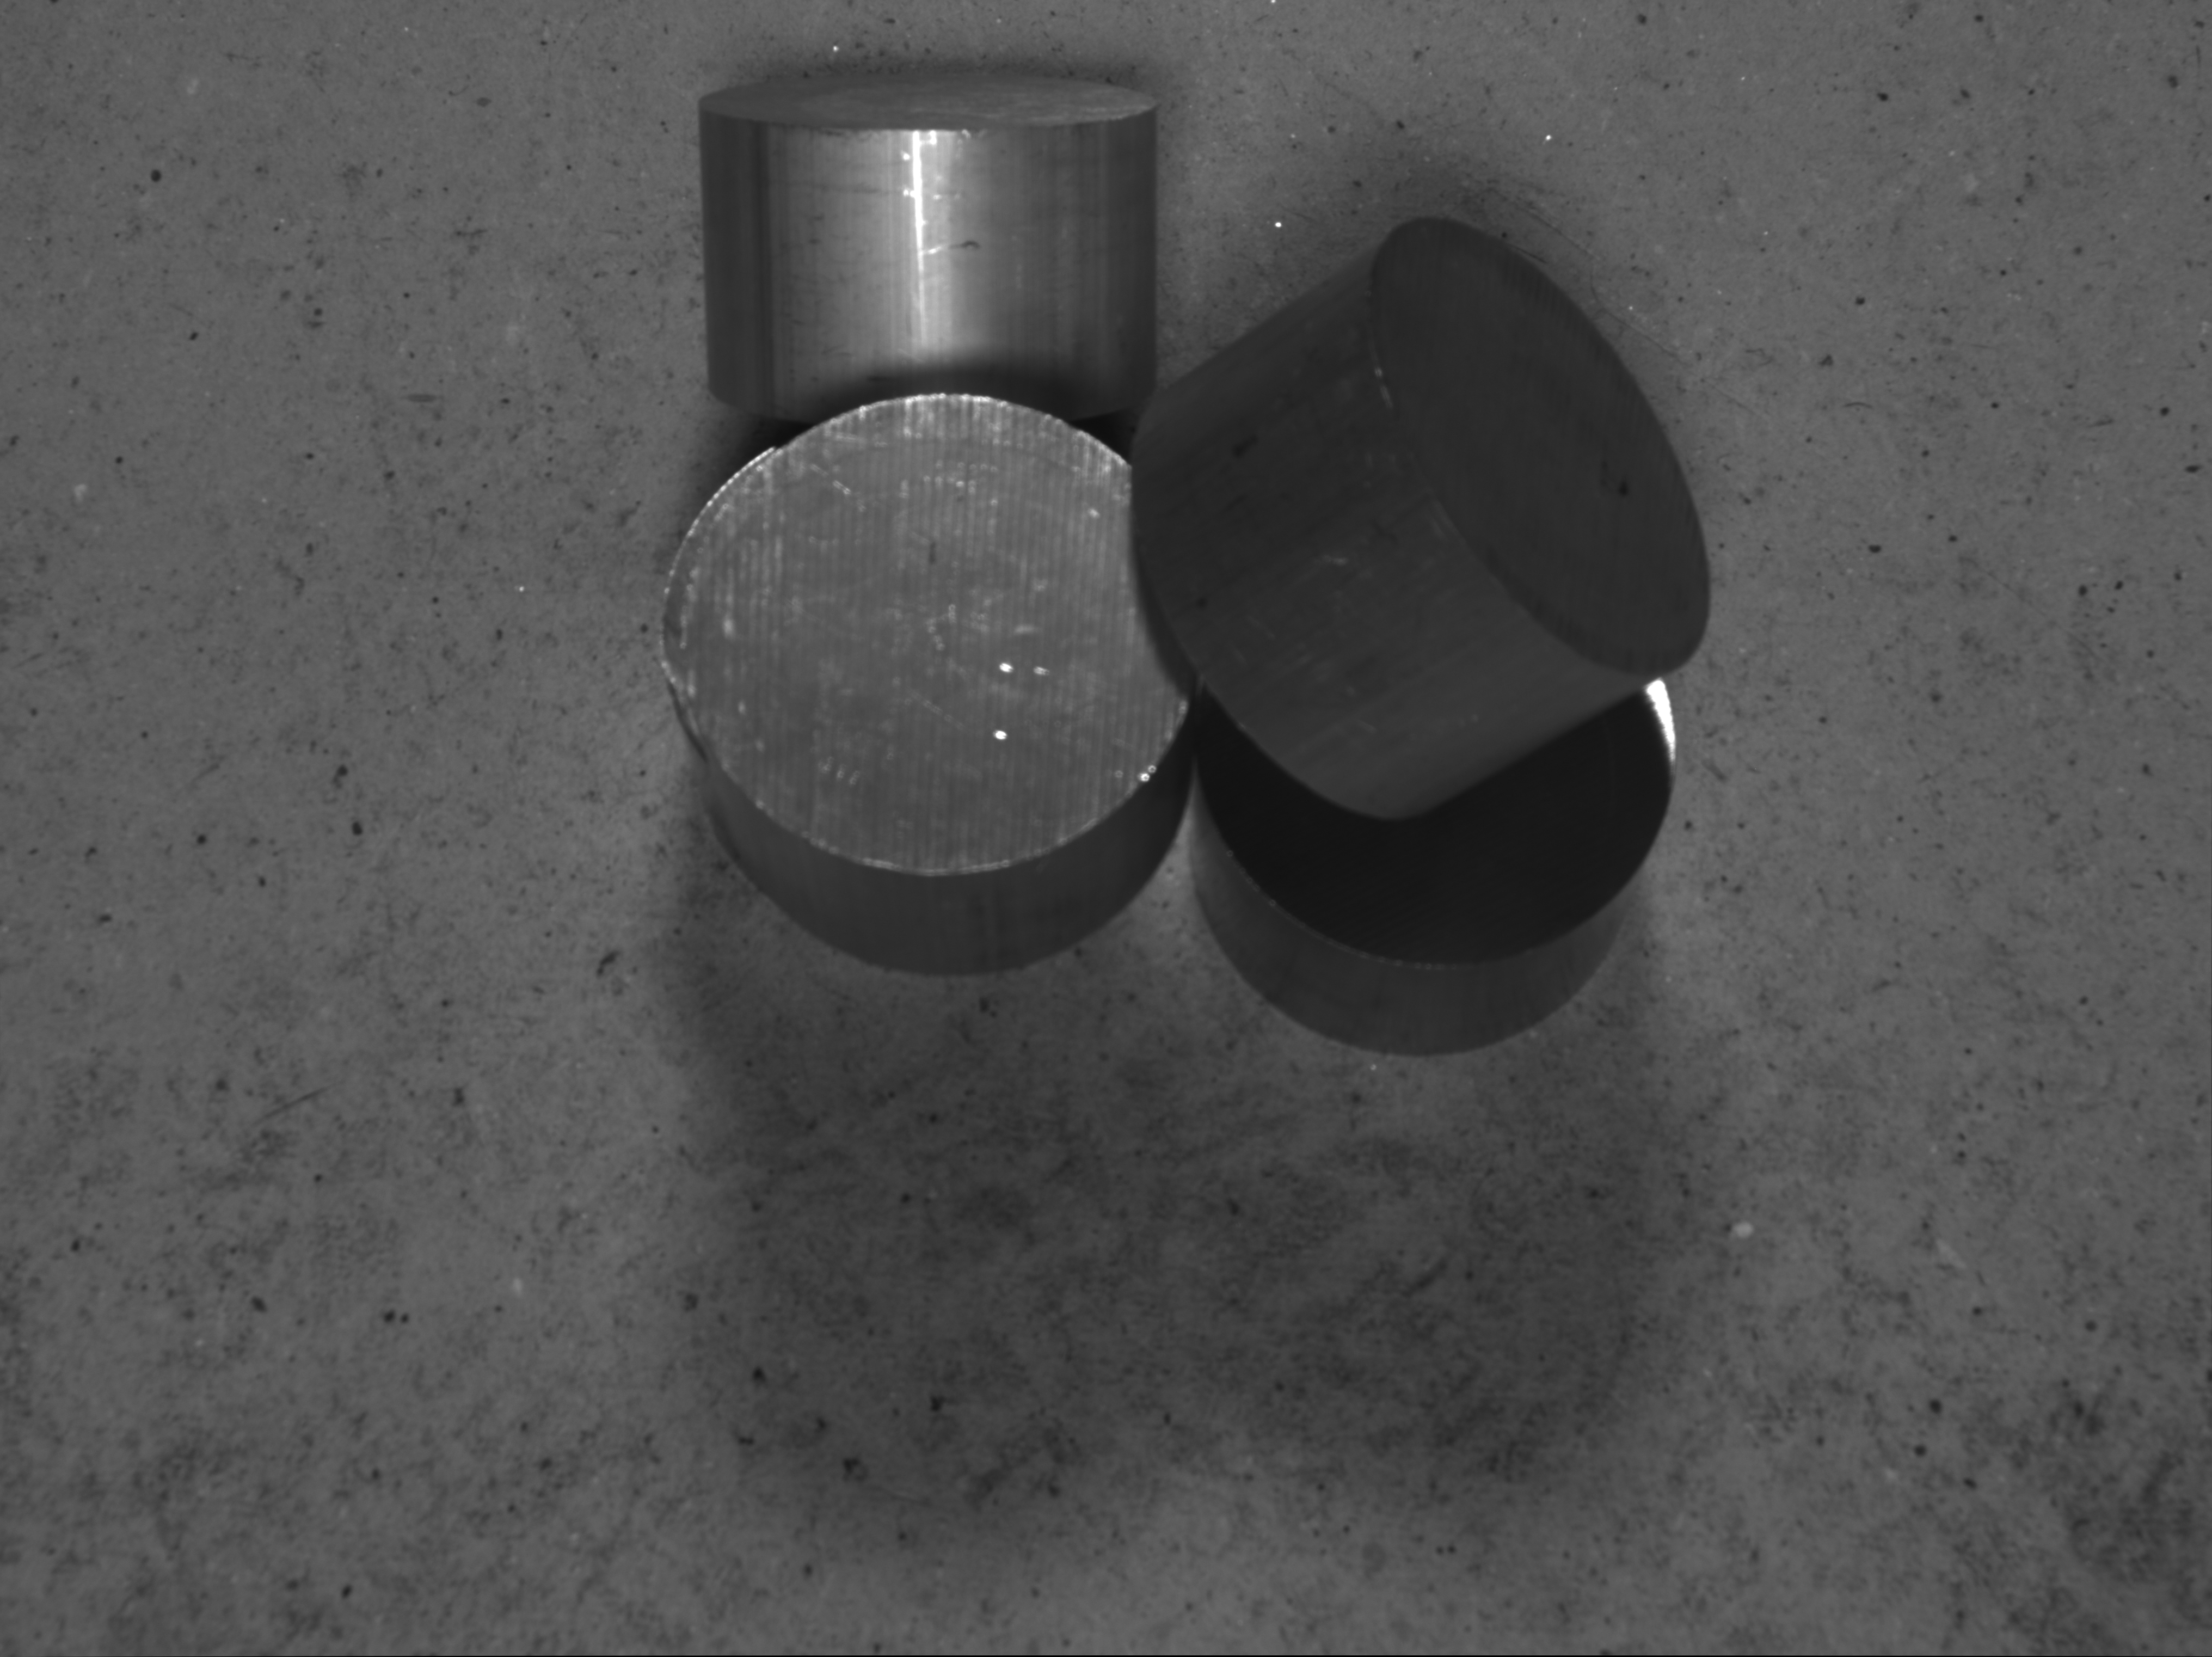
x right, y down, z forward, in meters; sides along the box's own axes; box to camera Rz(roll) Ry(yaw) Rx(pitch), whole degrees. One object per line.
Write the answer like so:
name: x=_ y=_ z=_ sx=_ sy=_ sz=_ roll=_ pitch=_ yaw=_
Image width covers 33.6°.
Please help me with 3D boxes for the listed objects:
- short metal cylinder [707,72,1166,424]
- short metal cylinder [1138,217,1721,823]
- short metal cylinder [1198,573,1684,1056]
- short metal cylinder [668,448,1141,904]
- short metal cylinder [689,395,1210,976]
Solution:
short metal cylinder: x=-0.029 y=-0.103 z=0.647 sx=0.080 sy=0.080 sz=0.050 roll=0 pitch=108 yaw=0
short metal cylinder: x=0.051 y=-0.048 z=0.572 sx=0.050 sy=0.080 sz=0.080 roll=-32 pitch=66 yaw=34
short metal cylinder: x=0.056 y=-0.006 z=0.633 sx=0.080 sy=0.050 sz=0.080 roll=0 pitch=70 yaw=0
short metal cylinder: x=-0.034 y=-0.025 z=0.641 sx=0.080 sy=0.050 sz=0.080 roll=0 pitch=70 yaw=0
short metal cylinder: x=-0.024 y=-0.022 z=0.586 sx=0.080 sy=0.050 sz=0.080 roll=0 pitch=70 yaw=0
